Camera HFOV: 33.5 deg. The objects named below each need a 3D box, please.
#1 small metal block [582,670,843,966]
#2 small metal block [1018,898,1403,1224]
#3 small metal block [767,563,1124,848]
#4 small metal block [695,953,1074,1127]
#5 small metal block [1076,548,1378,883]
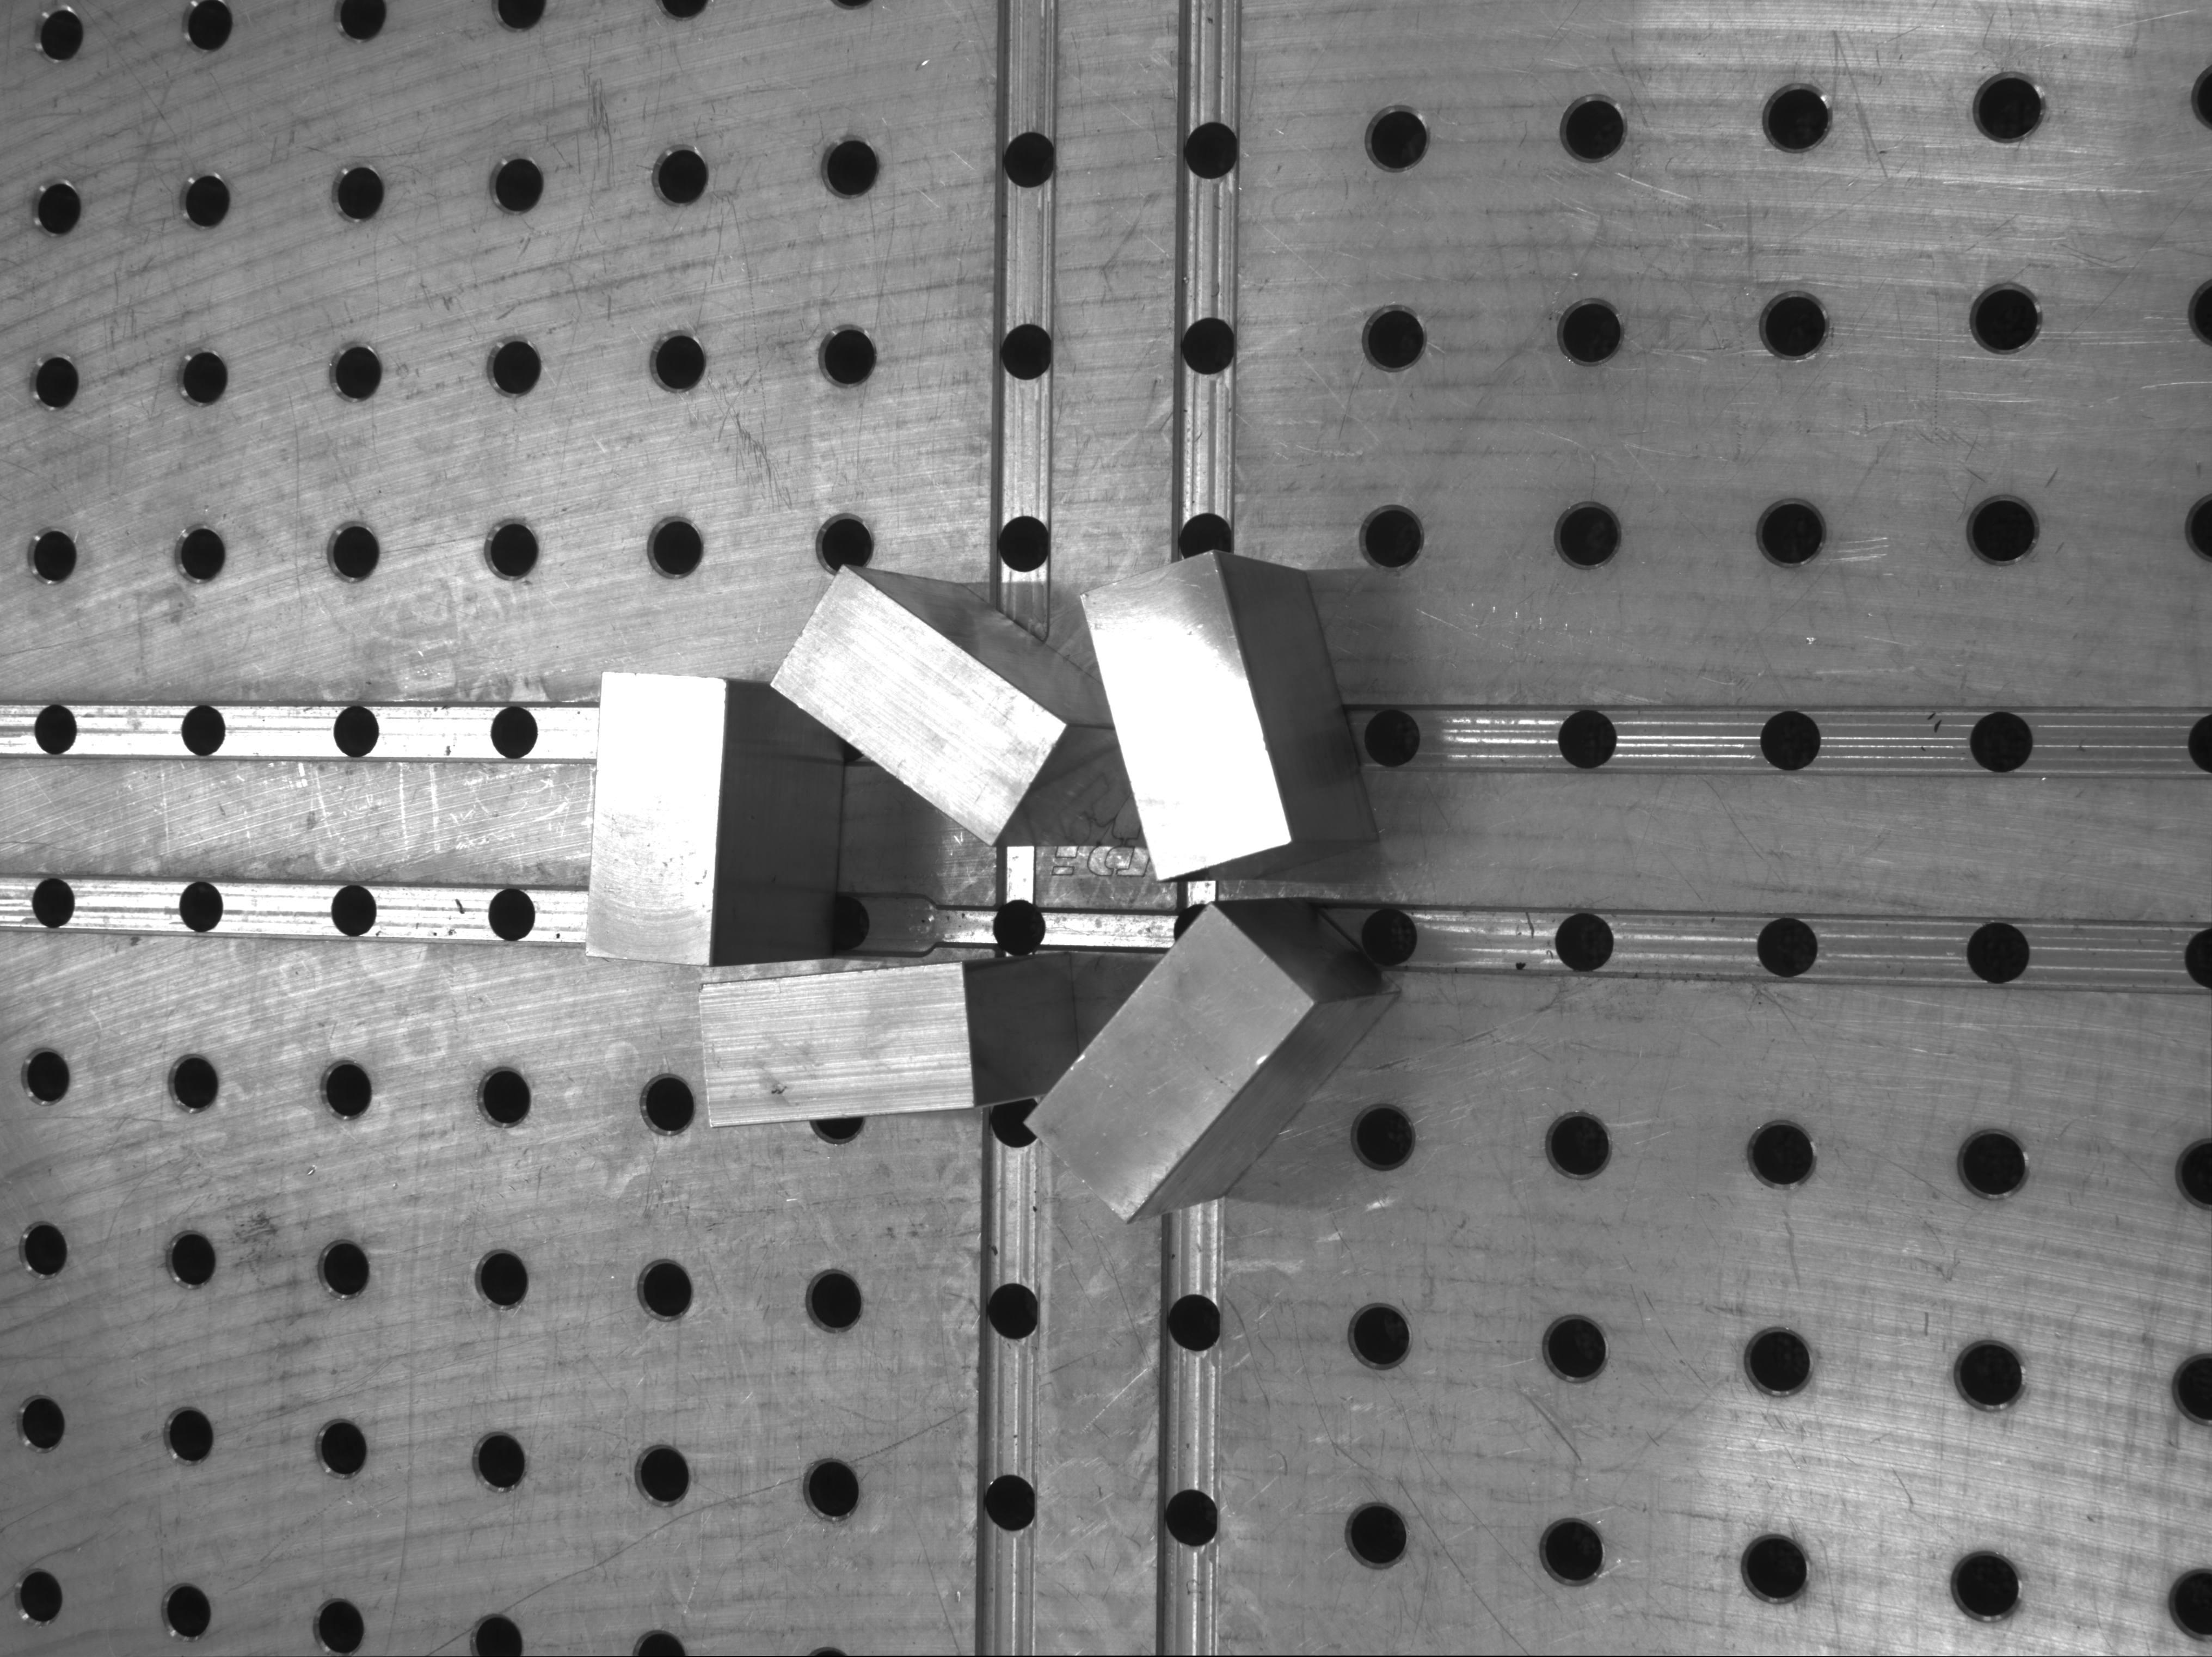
[{"bbox_3d":[-0.070,-0.002,0.662,0.025,0.050,0.050,4,92,20],"label":"small metal block"},{"bbox_3d":[0.019,0.039,0.629,0.025,0.050,0.050,44,104,16],"label":"small metal block"},{"bbox_3d":[-0.024,-0.021,0.645,0.050,0.050,0.025,35,102,16],"label":"small metal block"},{"bbox_3d":[-0.038,0.037,0.650,0.050,0.050,0.025,-5,88,20],"label":"small metal block"},{"bbox_3d":[0.021,-0.018,0.628,0.025,0.050,0.050,-17,83,19],"label":"small metal block"}]
